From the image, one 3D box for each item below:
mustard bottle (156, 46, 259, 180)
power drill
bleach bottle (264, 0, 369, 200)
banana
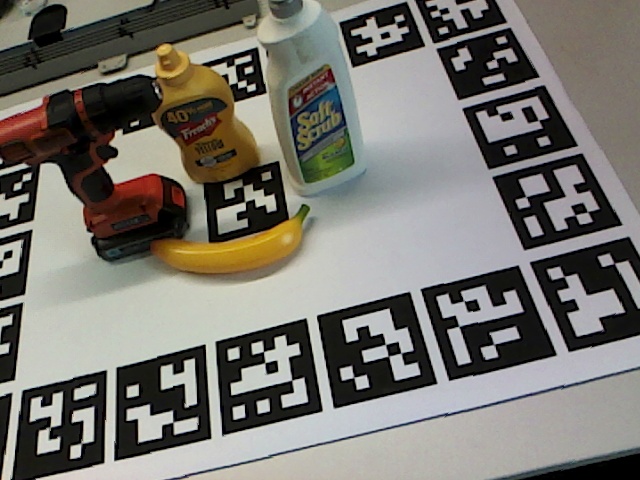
[{"bbox_3d":[-0.142,-0.150,0.734,0.096,0.190,0.058,-14,56,4],"label":"mustard bottle"},{"bbox_3d":[-0.234,-0.084,0.694,0.184,0.186,0.057,-16,50,1],"label":"power drill"},{"bbox_3d":[-0.012,-0.146,0.672,0.102,0.249,0.068,-22,57,0],"label":"bleach bottle"},{"bbox_3d":[-0.099,0.004,0.715,0.198,0.038,0.074,-13,61,9],"label":"banana"}]
